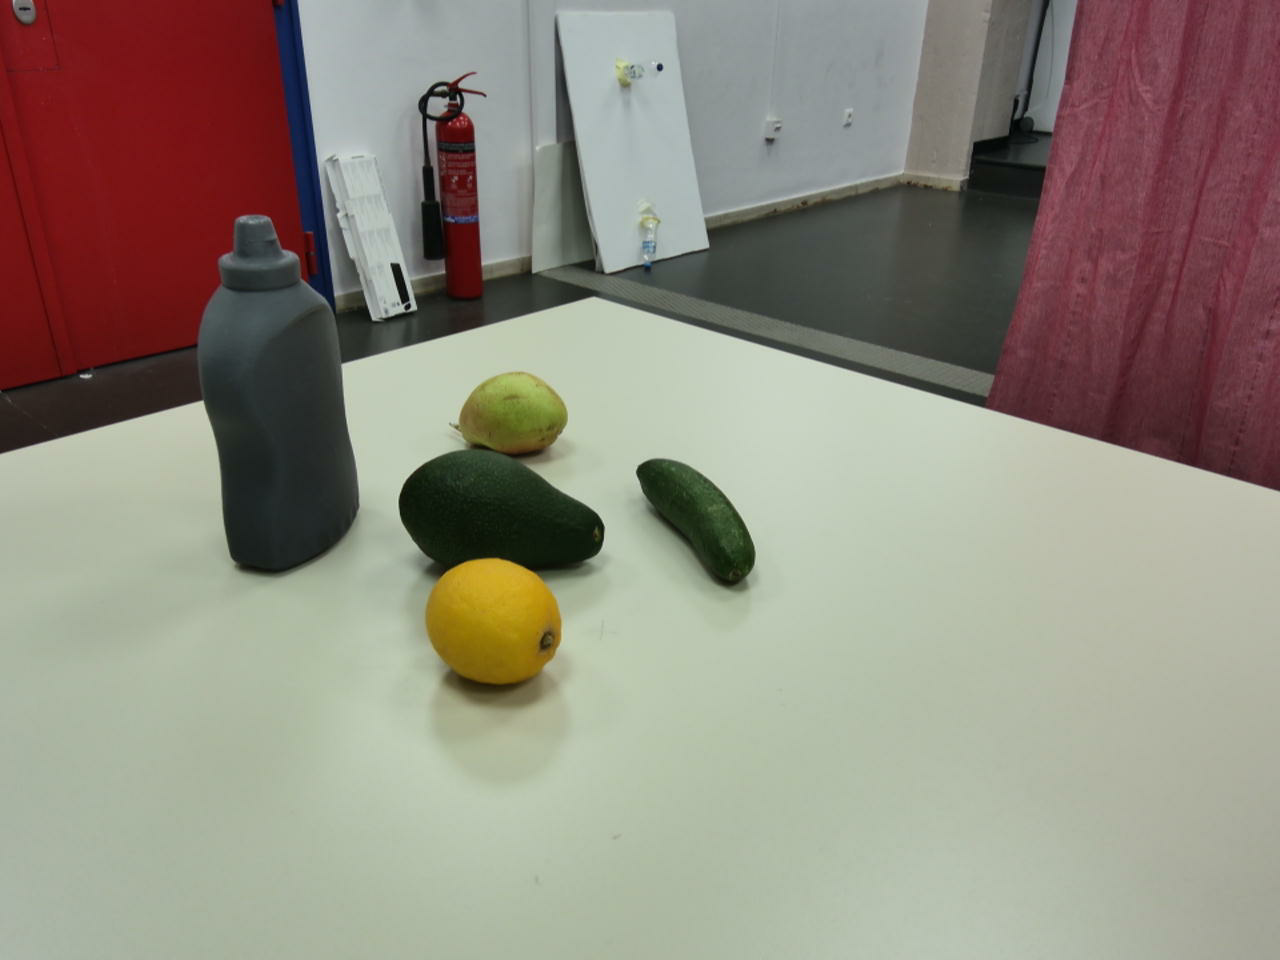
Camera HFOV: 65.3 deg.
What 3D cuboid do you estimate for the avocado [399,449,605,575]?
[{"bbox_3d":[-0.081,0.019,0.569,0.110,0.071,0.072,9,26,17],"label":"avocado"}]
